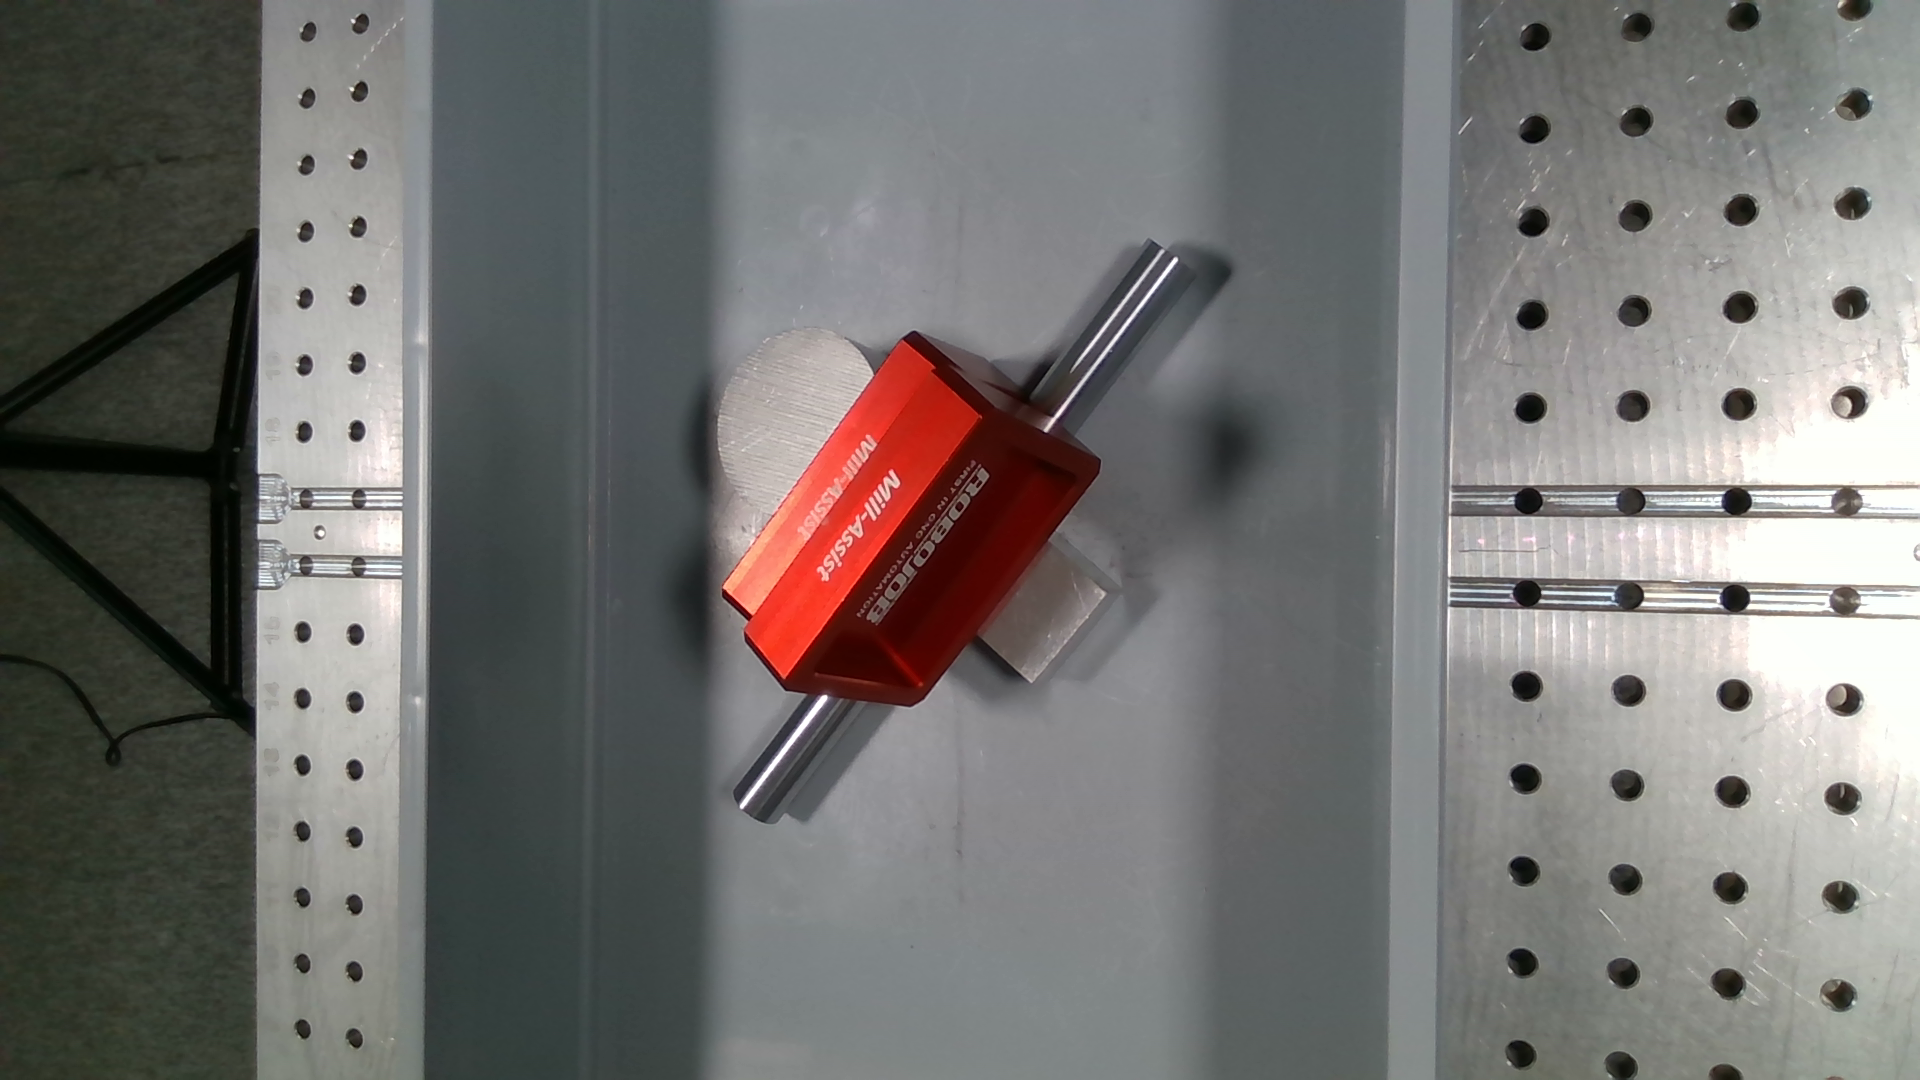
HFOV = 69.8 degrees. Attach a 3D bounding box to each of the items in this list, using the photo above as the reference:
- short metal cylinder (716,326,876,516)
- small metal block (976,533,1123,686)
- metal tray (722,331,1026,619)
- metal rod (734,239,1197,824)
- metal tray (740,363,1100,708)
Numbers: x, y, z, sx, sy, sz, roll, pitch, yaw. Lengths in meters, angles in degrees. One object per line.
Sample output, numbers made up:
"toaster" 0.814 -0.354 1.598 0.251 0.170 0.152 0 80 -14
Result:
"short metal cylinder" -0.056 -0.046 0.585 0.080 0.050 0.080 -3 84 27
"small metal block" 0.031 0.024 0.573 0.050 0.025 0.050 42 104 15
"metal tray" -0.032 -0.019 0.562 0.030 0.090 0.130 41 103 16
"metal rod" -0.003 0.003 0.587 0.025 0.025 0.300 41 104 15
"metal tray" -0.014 0.003 0.528 0.030 0.090 0.130 46 105 32
